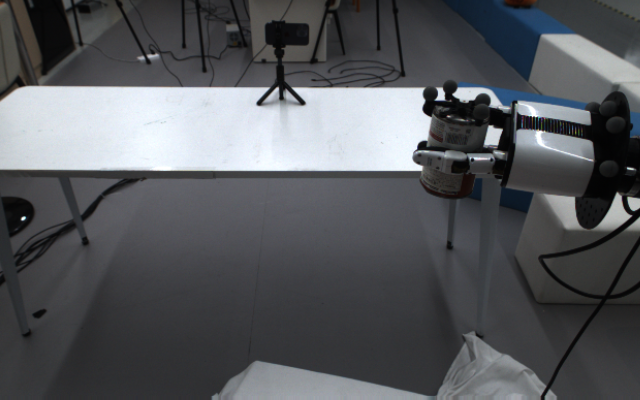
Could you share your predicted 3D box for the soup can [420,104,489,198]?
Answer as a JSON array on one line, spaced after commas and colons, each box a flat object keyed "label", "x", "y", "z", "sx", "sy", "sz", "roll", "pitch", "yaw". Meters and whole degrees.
[{"label": "soup can", "x": 0.165, "y": -0.062, "z": 0.596, "sx": 0.067, "sy": 0.101, "sz": 0.067, "roll": 2, "pitch": 32, "yaw": -1}]
